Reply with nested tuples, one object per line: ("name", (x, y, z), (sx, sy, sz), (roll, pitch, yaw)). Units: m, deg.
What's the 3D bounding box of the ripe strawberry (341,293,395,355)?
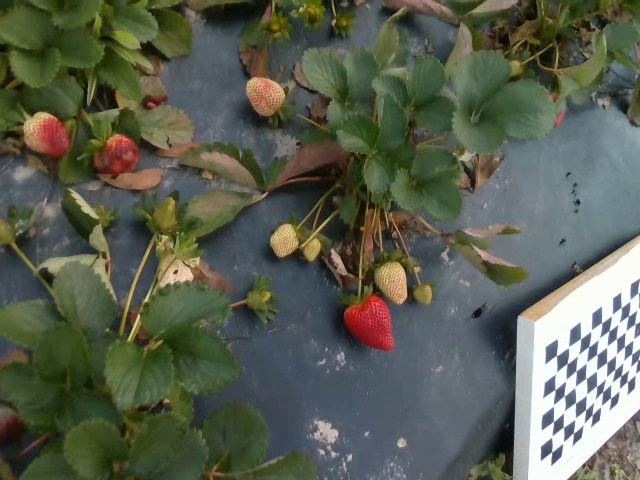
("ripe strawberry", (0.049, 0.077, 0.549), (0.050, 0.059, 0.034), (-32, -16, -23))
